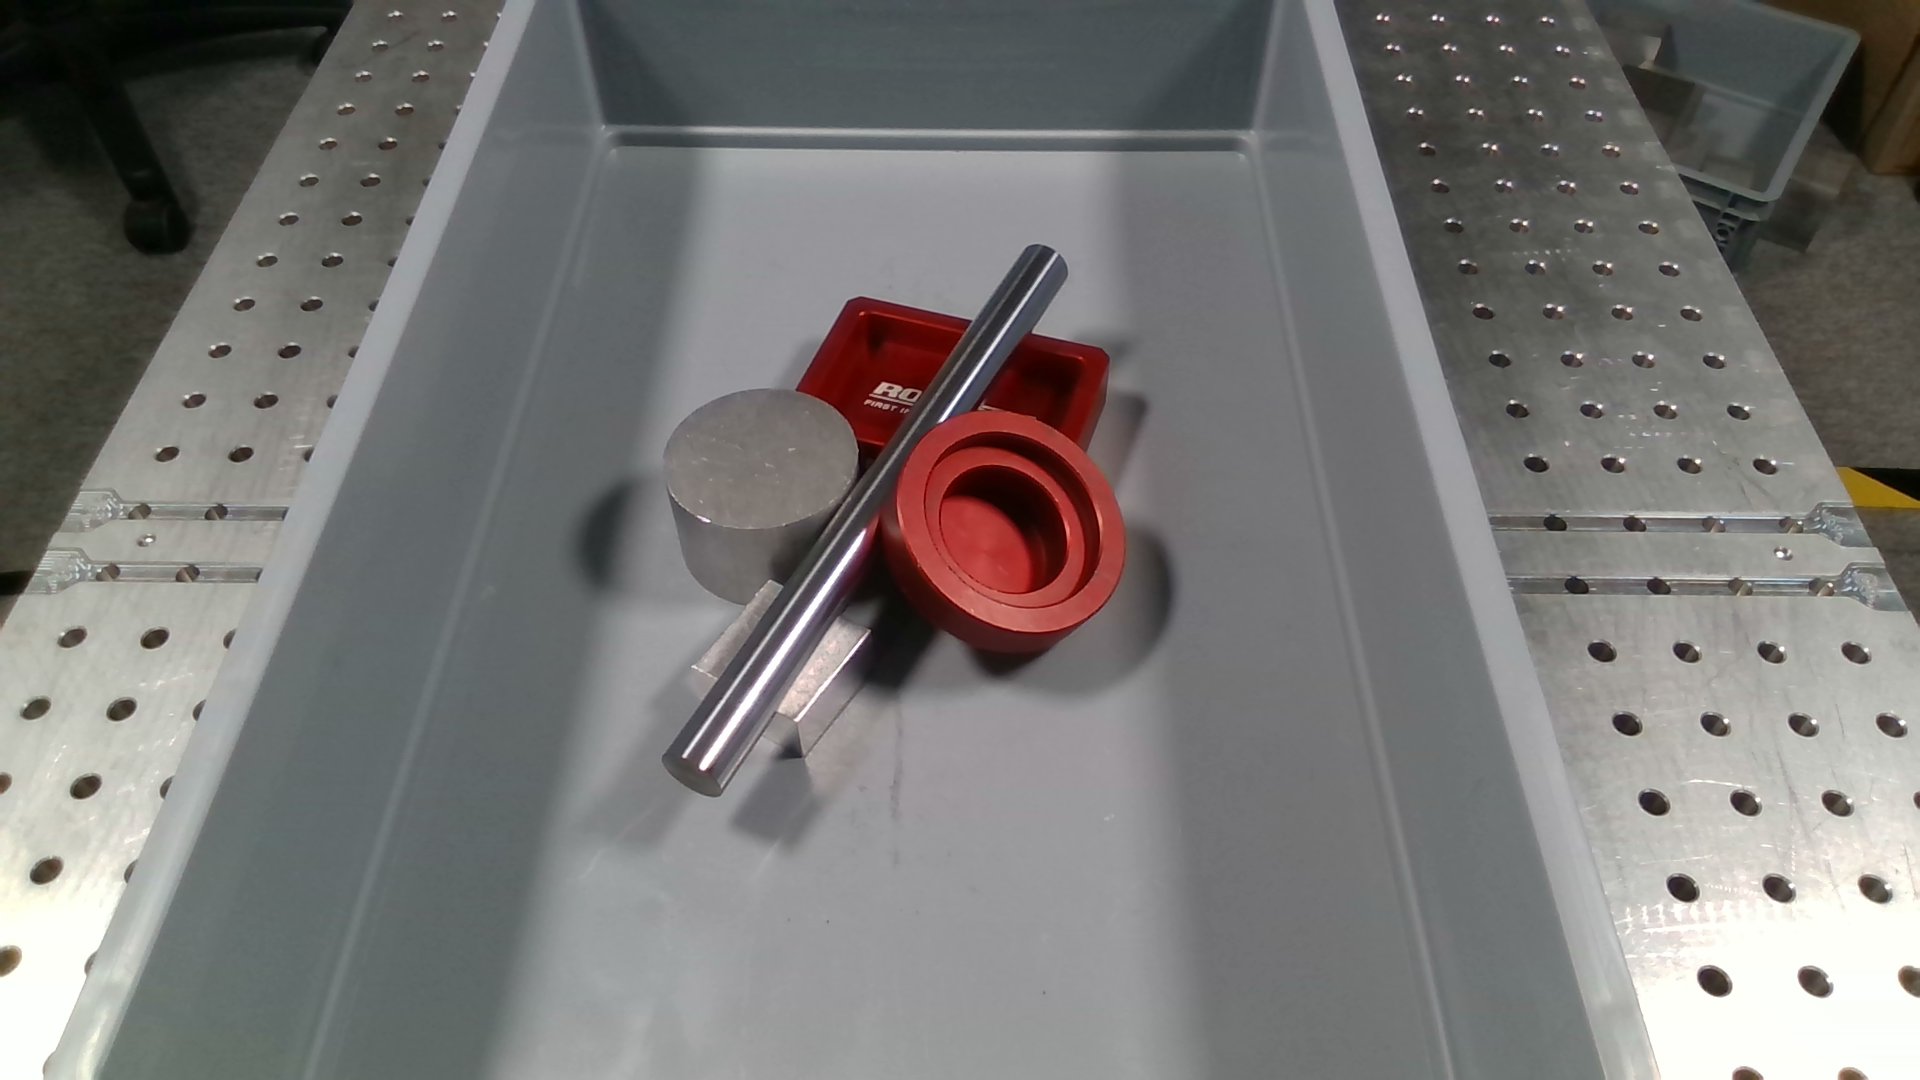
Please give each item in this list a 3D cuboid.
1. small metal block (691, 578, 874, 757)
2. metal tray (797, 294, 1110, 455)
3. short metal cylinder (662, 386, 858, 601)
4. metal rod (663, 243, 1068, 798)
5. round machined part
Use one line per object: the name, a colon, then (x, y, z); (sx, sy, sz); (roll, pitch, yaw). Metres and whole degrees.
small metal block: (-0.069, 0.050, 0.544); (0.050, 0.025, 0.050); (25, 55, 20)
metal tray: (-0.005, -0.062, 0.633); (0.130, 0.030, 0.090); (14, 52, 12)
short metal cylinder: (-0.082, -0.019, 0.585); (0.080, 0.050, 0.080); (0, 50, 0)
metal rod: (-0.027, -0.023, 0.567); (0.025, 0.025, 0.299); (21, 56, 17)
round machined part: (0.014, -0.001, 0.559); (0.098, 0.042, 0.098); (10, 62, -19)
